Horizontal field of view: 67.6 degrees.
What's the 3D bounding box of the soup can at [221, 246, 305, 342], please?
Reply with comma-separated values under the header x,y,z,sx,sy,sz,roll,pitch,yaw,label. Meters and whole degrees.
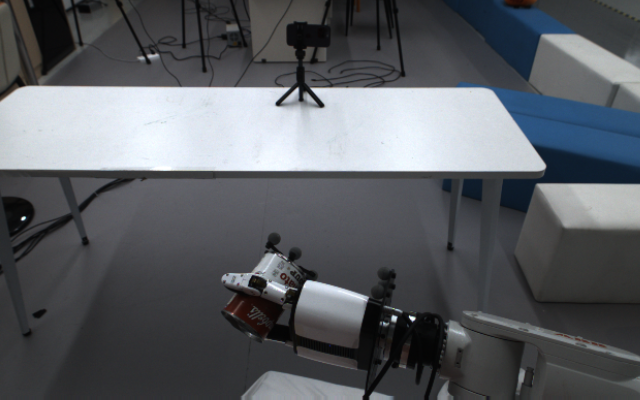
x,y,z,sx,sy,sz,roll,pitch,yaw,label
-0.072,0.127,0.638,0.067,0.067,0.101,22,60,26,soup can
